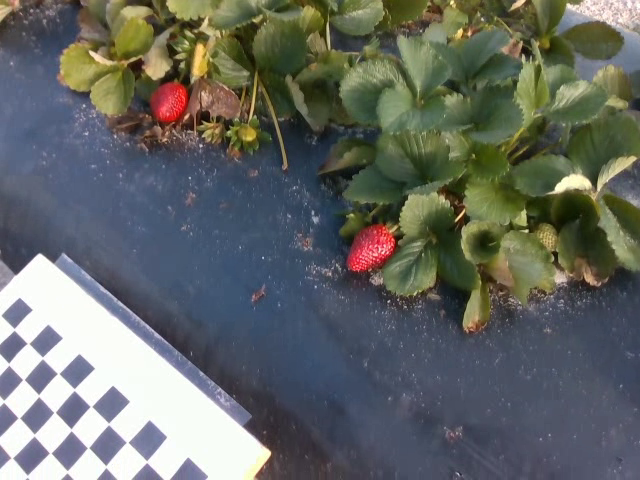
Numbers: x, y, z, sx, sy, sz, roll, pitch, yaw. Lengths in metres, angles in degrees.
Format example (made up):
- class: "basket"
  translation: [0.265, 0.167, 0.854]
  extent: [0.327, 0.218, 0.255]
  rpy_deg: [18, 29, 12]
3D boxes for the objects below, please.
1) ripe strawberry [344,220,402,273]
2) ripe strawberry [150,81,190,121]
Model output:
- class: "ripe strawberry"
  translation: [0.025, 0.005, 0.368]
  extent: [0.029, 0.021, 0.036]
  rpy_deg: [32, 62, 30]
- class: "ripe strawberry"
  translation: [-0.103, -0.090, 0.441]
  extent: [0.032, 0.025, 0.030]
  rpy_deg: [-2, 39, 8]
